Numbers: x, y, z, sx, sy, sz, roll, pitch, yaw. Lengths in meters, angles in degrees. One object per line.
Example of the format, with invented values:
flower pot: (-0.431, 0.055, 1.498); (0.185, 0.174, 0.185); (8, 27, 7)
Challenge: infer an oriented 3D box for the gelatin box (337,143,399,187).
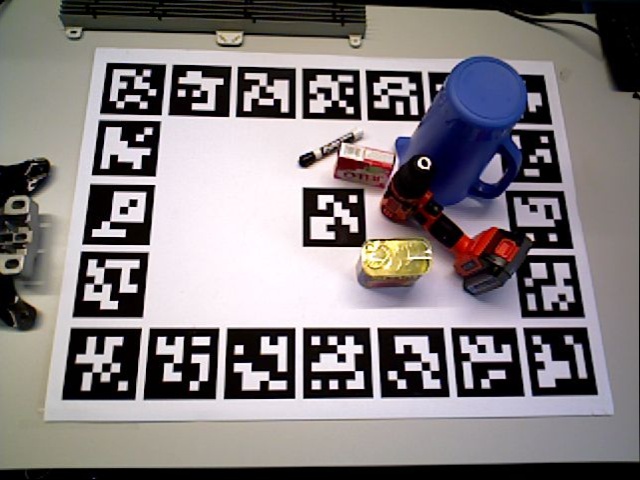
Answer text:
gelatin box: (0.075, -0.114, 0.844); (0.089, 0.074, 0.030); (12, 75, -2)

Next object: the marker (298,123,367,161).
marker: (0.019, -0.159, 0.880); (0.120, 0.020, 0.019); (-25, 76, -9)

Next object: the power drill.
power drill: (0.176, -0.036, 0.768); (0.187, 0.187, 0.057); (36, 75, 1)

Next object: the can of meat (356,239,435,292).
can of meat: (0.105, 0.039, 0.790); (0.101, 0.085, 0.057); (0, 70, -4)

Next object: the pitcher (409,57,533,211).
pitcher: (0.224, -0.141, 0.778); (0.188, 0.245, 0.132); (31, 75, 13)
